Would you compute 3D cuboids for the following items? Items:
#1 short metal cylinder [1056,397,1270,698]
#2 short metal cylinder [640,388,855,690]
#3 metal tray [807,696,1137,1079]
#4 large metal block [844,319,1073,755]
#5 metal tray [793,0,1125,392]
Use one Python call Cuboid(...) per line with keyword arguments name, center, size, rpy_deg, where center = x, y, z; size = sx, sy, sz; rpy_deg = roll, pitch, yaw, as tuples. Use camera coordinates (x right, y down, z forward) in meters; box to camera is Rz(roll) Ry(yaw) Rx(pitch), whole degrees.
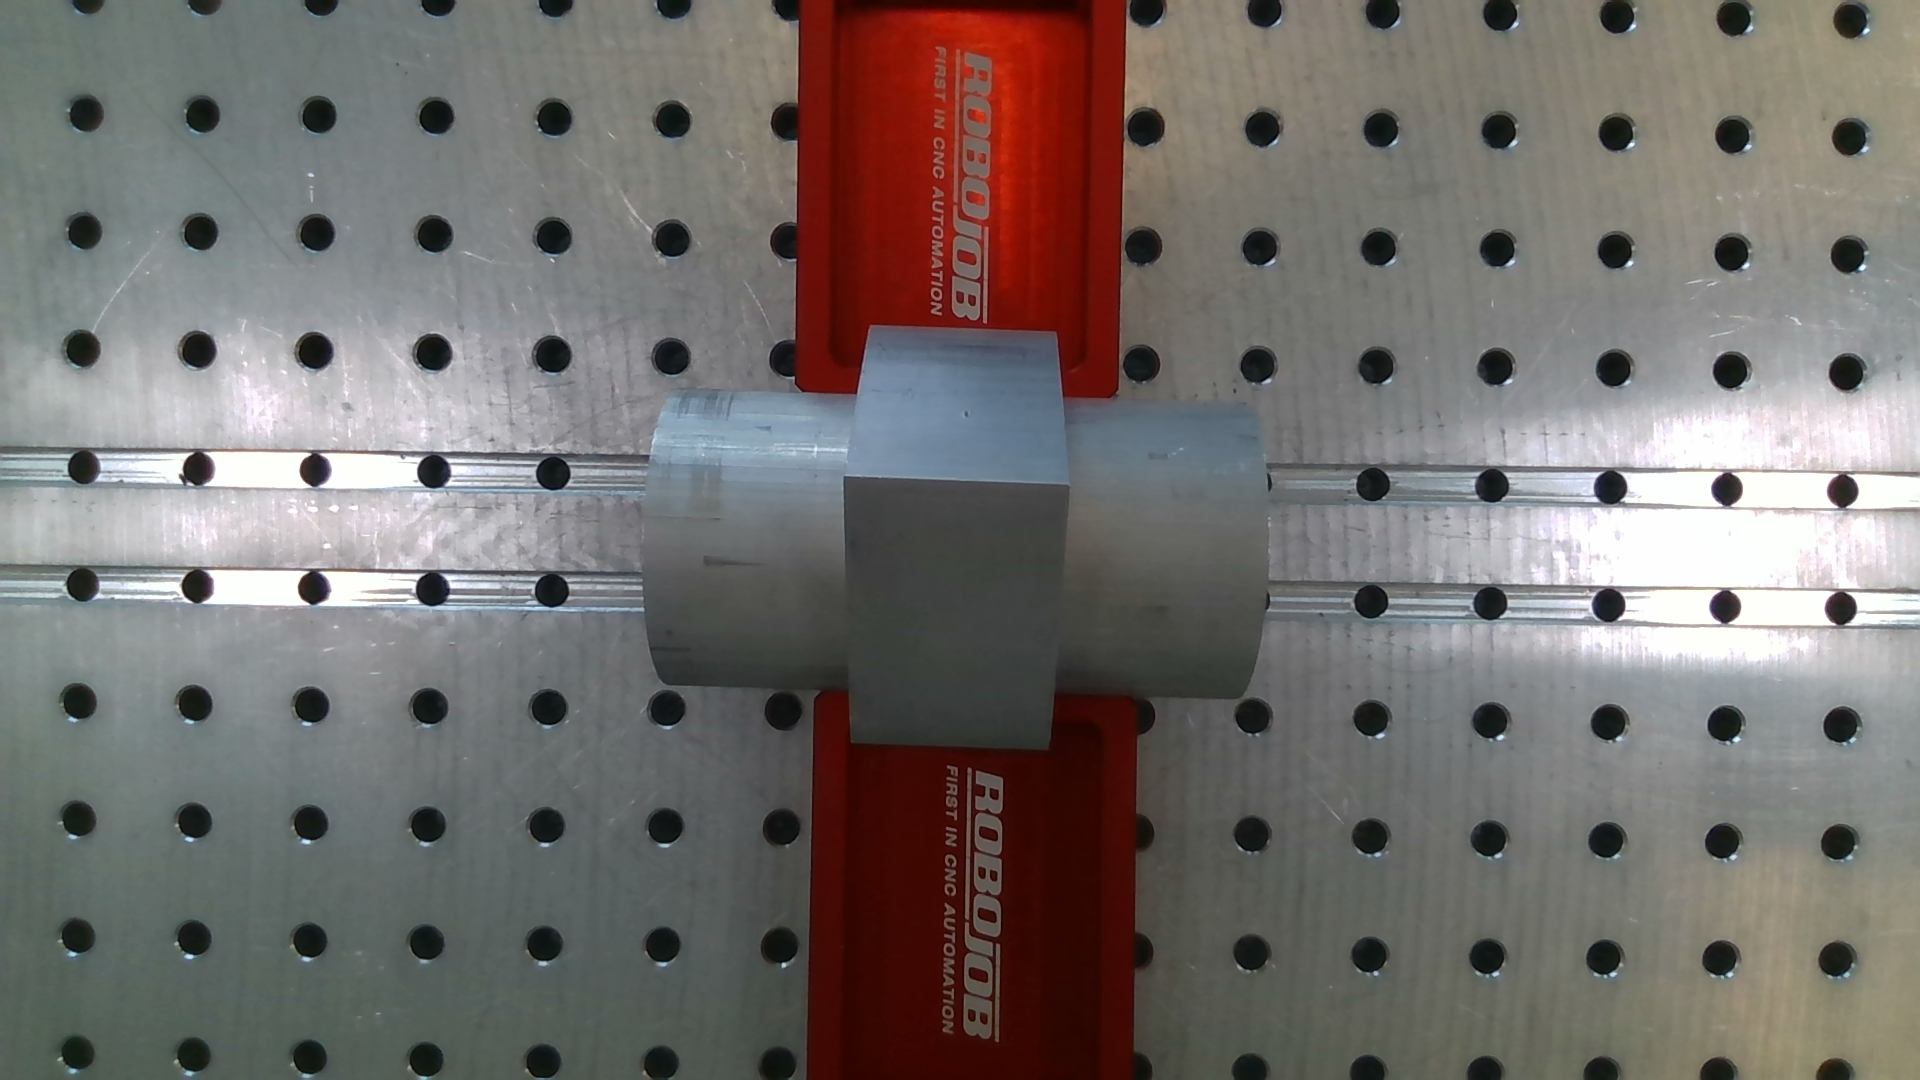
Cuboid(name="short metal cylinder", center=(0.049, 0.002, 0.370), size=(0.050, 0.080, 0.080), rpy_deg=(1, 90, 0))
Cuboid(name="short metal cylinder", center=(-0.052, 0.000, 0.370), size=(0.050, 0.080, 0.080), rpy_deg=(2, 90, 0))
Cuboid(name="metal tray", center=(0.003, 0.105, 0.395), size=(0.090, 0.030, 0.130), rpy_deg=(1, 90, 0))
Cuboid(name="large metal block", center=(-0.001, -0.002, 0.356), size=(0.050, 0.080, 0.080), rpy_deg=(2, 124, -1))
Cuboid(name="metal tray", center=(0.000, -0.103, 0.394), size=(0.090, 0.030, 0.130), rpy_deg=(1, 90, 0))
